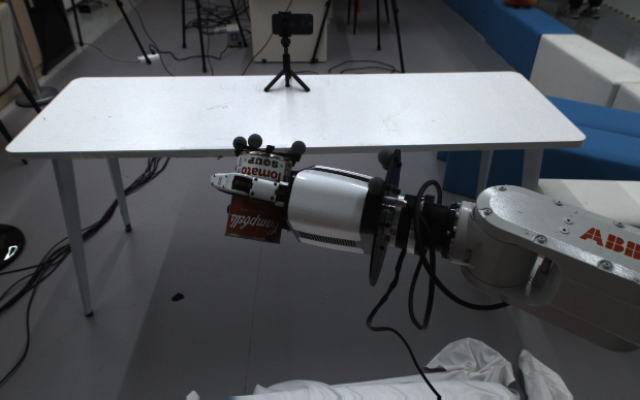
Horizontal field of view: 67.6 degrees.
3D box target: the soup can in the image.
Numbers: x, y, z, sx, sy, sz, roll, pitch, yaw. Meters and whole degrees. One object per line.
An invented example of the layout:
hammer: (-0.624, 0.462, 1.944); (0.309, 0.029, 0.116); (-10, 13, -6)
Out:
soup can: (-0.072, -0.001, 0.584); (0.067, 0.101, 0.067); (9, -6, 1)
